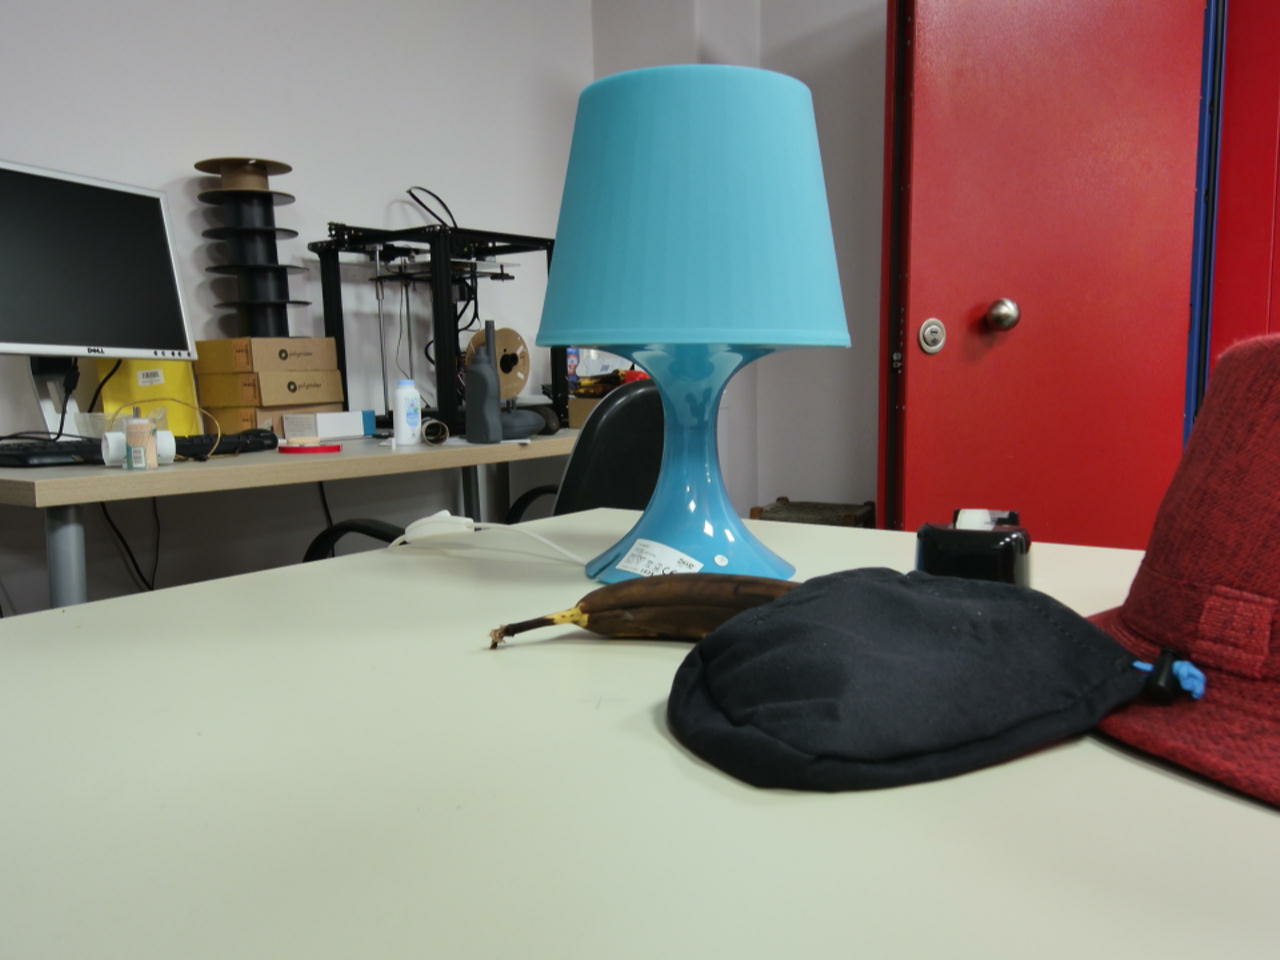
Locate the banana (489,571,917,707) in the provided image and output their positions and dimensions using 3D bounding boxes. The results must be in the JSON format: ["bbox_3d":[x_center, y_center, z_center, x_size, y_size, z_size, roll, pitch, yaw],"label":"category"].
[{"bbox_3d":[0.034,0.061,0.433,0.188,0.033,0.091,3,4,39],"label":"banana"}]
